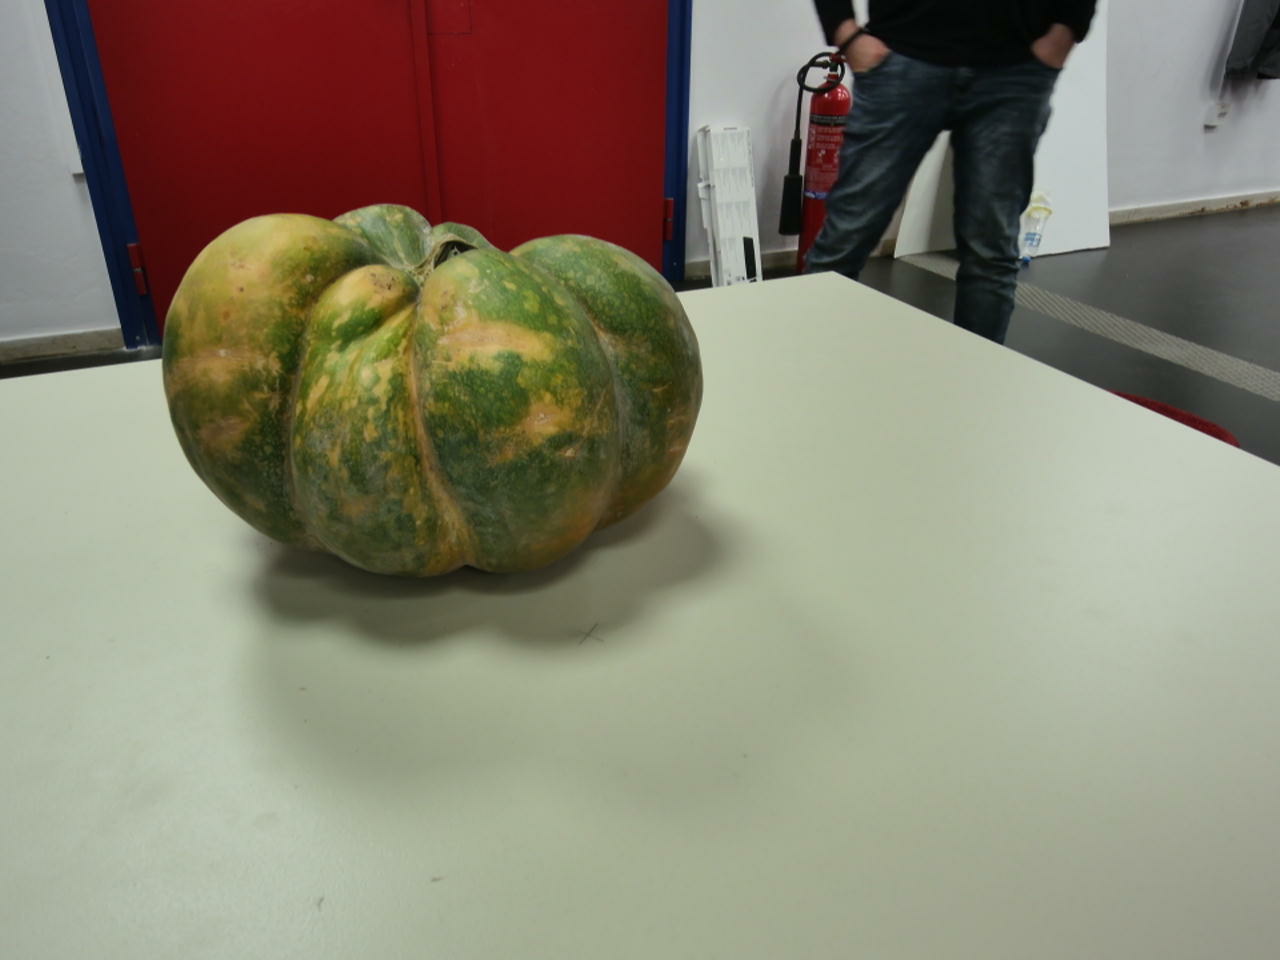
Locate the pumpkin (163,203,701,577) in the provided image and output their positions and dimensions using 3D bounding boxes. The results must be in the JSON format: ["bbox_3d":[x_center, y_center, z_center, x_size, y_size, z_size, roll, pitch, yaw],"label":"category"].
[{"bbox_3d":[-0.102,-0.055,0.507,0.270,0.173,0.237,5,26,11],"label":"pumpkin"}]
